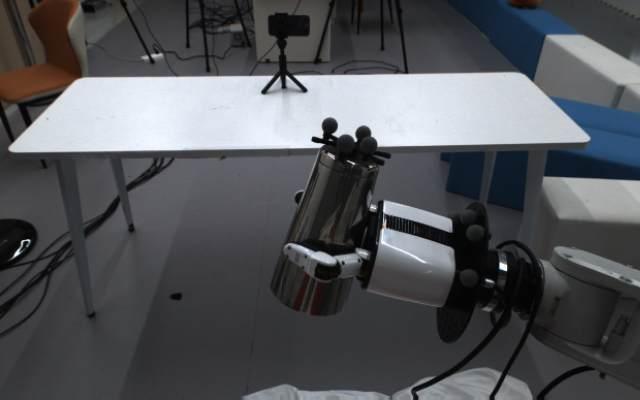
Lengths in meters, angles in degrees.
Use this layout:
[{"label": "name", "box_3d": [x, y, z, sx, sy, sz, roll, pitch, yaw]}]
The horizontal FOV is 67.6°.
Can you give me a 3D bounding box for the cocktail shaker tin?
[{"label": "cocktail shaker tin", "box_3d": [0.011, 0.030, 0.535, 0.093, 0.170, 0.093, 15, 19, -5]}]
